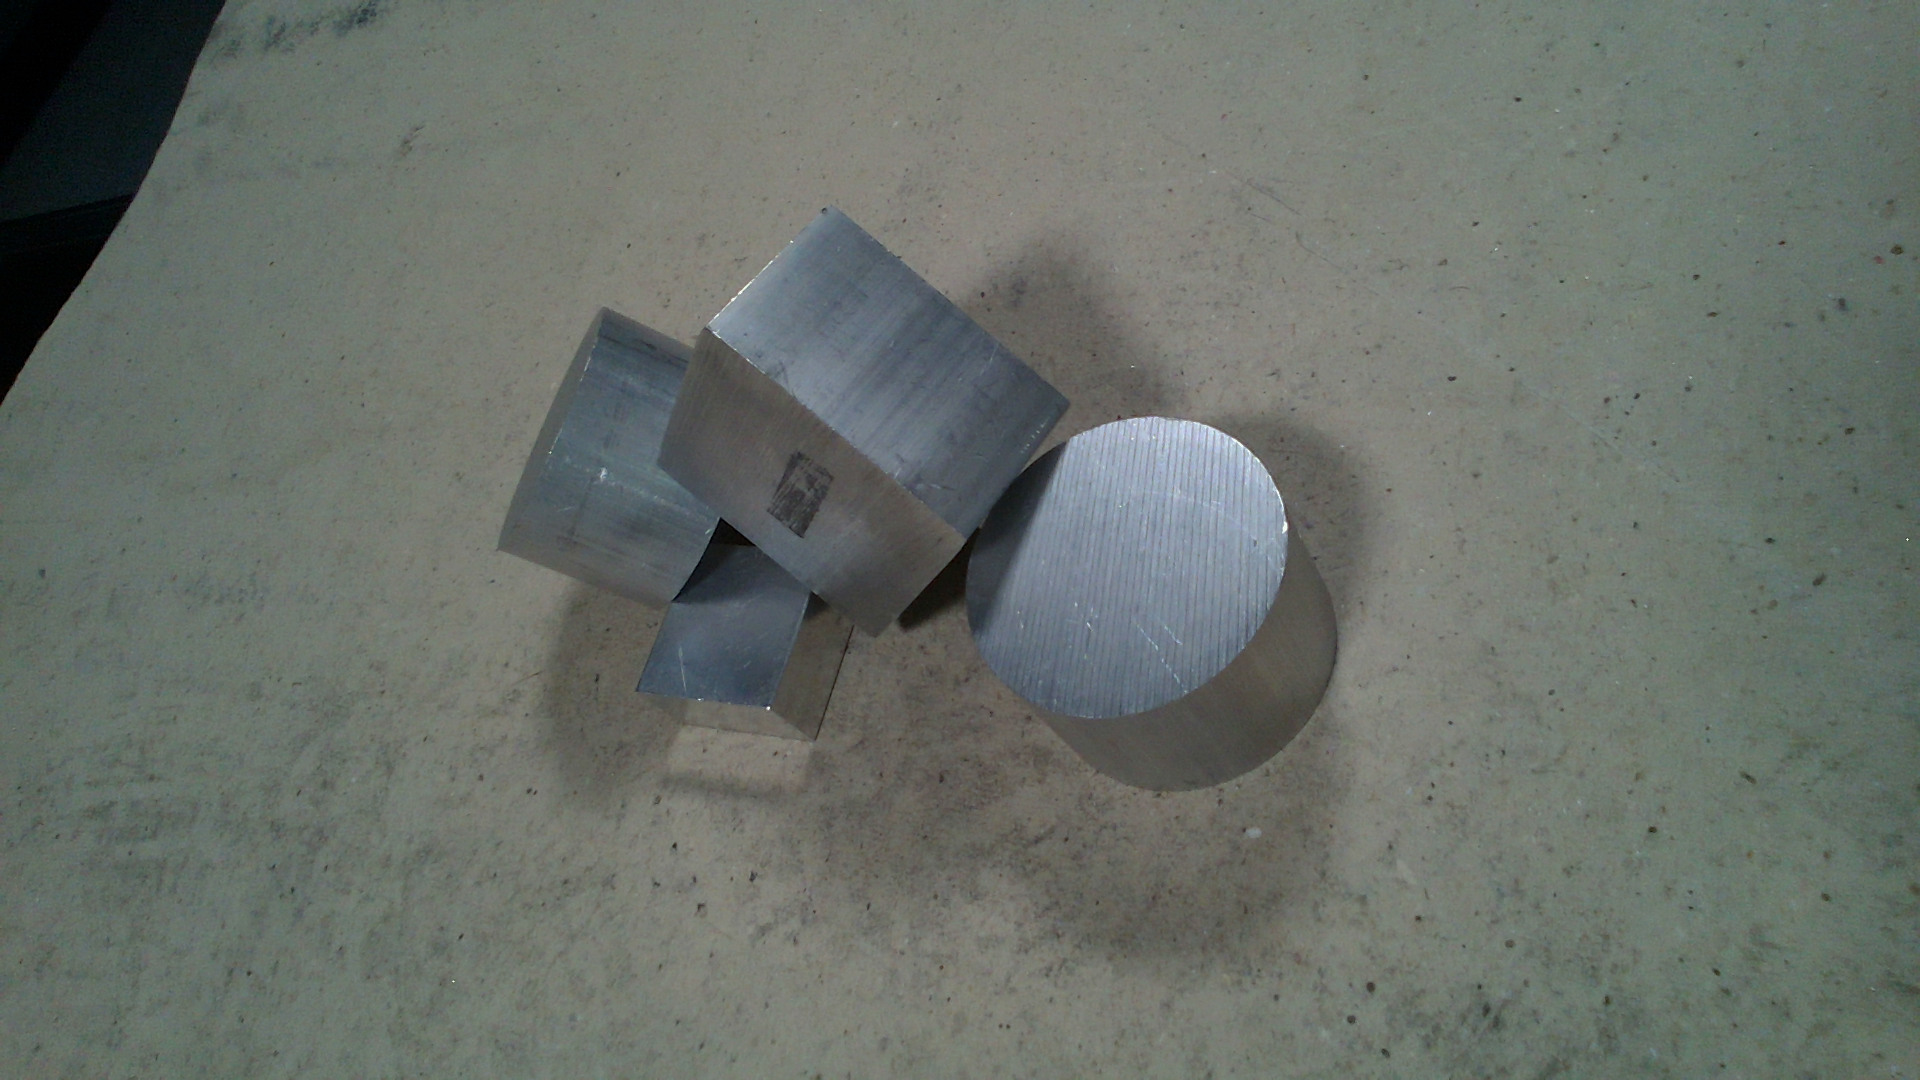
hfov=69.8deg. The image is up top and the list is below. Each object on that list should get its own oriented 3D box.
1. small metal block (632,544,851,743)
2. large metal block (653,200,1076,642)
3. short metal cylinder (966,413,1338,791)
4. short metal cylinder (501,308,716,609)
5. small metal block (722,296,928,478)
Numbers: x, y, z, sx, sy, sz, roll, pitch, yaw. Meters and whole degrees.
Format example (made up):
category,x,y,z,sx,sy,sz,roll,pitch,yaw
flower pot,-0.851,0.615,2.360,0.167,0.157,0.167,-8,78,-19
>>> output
category,x,y,z,sx,sy,sz,roll,pitch,yaw
small metal block,-0.062,0.030,0.409,0.050,0.025,0.050,3,63,30
large metal block,-0.029,-0.028,0.367,0.080,0.080,0.050,39,60,-2
short metal cylinder,0.048,0.016,0.342,0.080,0.050,0.080,-14,56,21
short metal cylinder,-0.102,-0.025,0.425,0.080,0.050,0.080,-50,26,36
small metal block,-0.043,-0.049,0.447,0.050,0.025,0.050,-1,61,28
